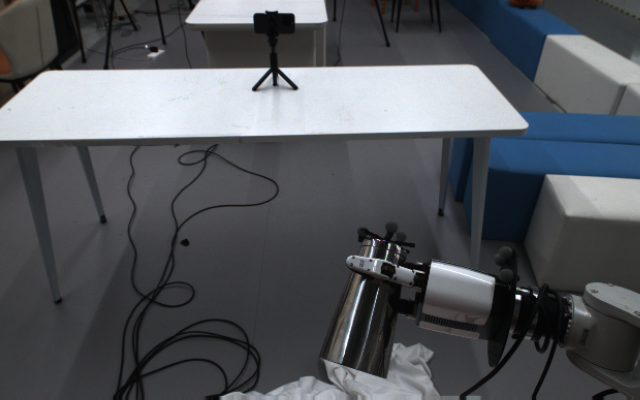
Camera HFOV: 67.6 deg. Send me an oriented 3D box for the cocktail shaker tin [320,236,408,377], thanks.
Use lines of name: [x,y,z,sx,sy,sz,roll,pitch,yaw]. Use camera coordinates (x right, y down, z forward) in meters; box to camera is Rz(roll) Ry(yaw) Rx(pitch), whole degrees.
cocktail shaker tin: [0.068,0.141,0.661,0.093,0.093,0.170,13,71,15]
